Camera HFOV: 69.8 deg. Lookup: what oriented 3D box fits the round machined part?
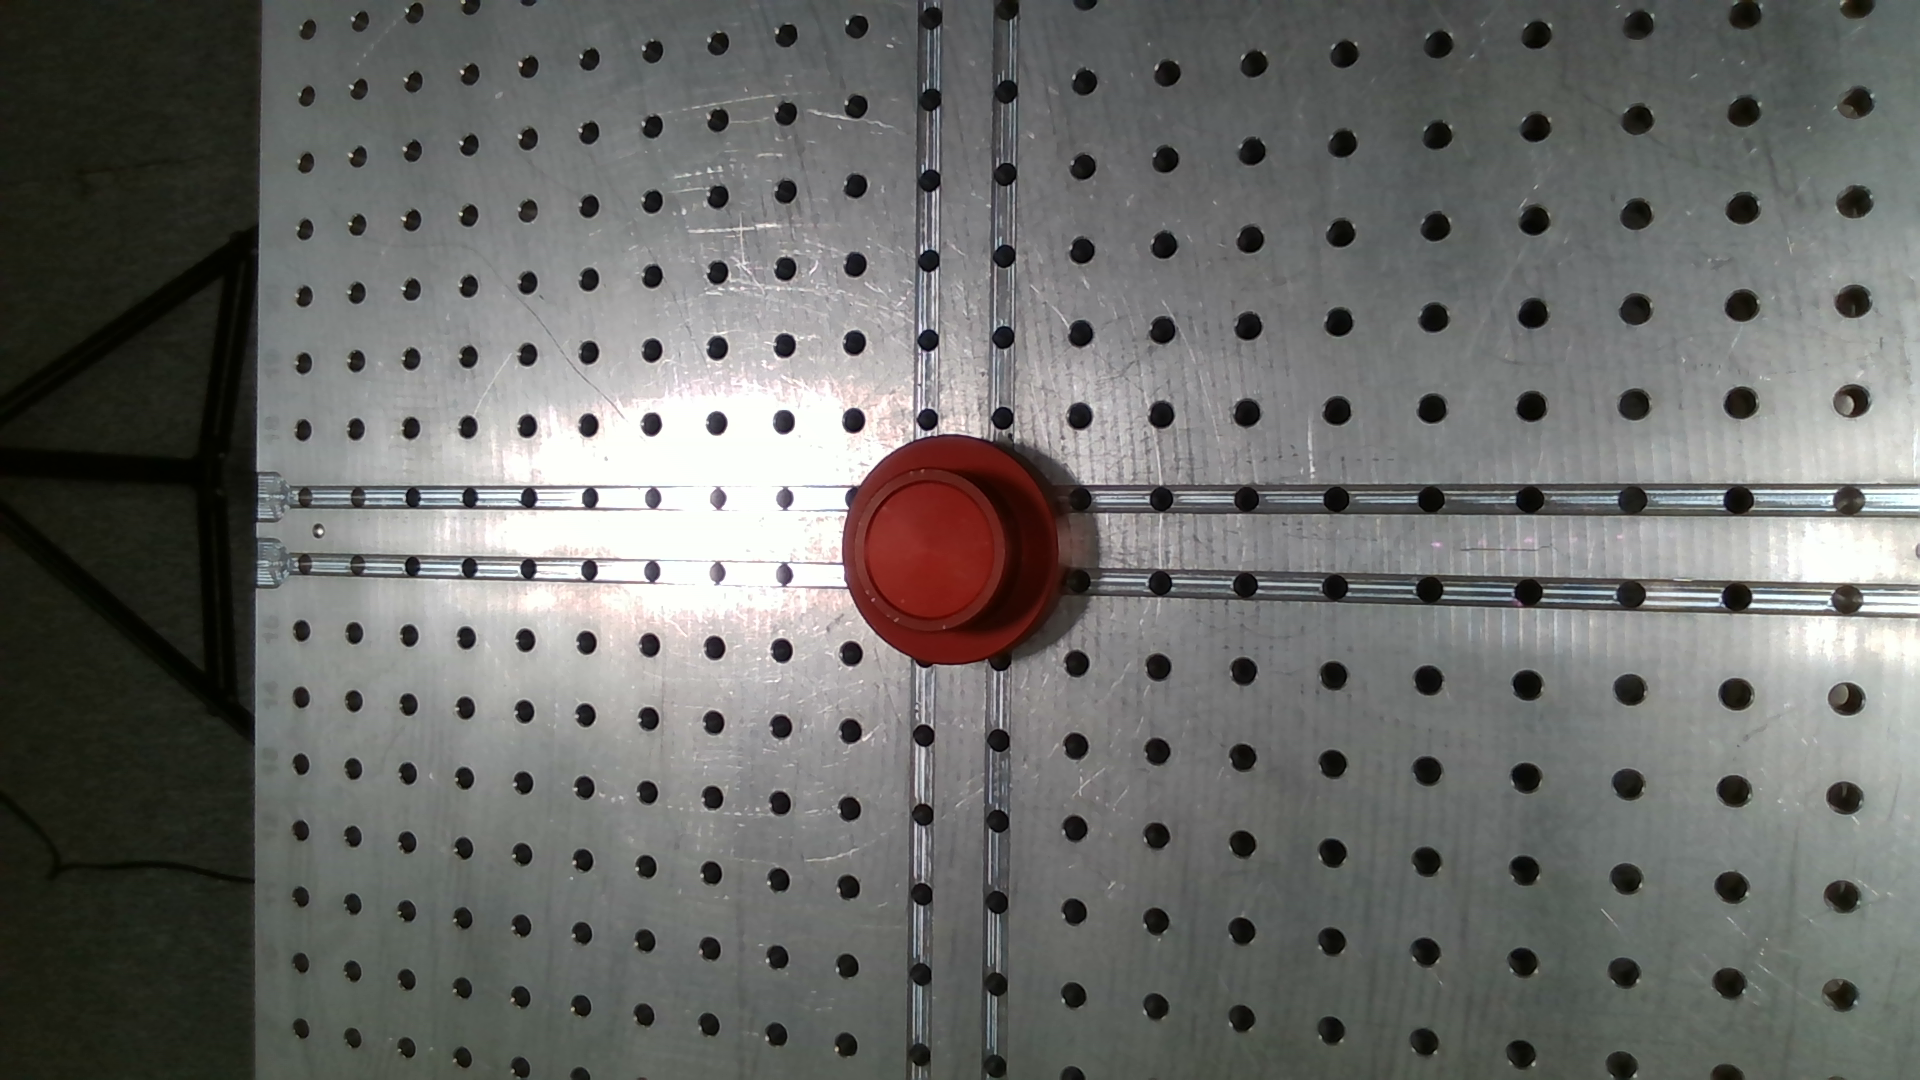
[{"bbox_3d":[-0.006,0.004,0.581,0.098,0.042,0.098,0,91,20],"label":"round machined part"}]
